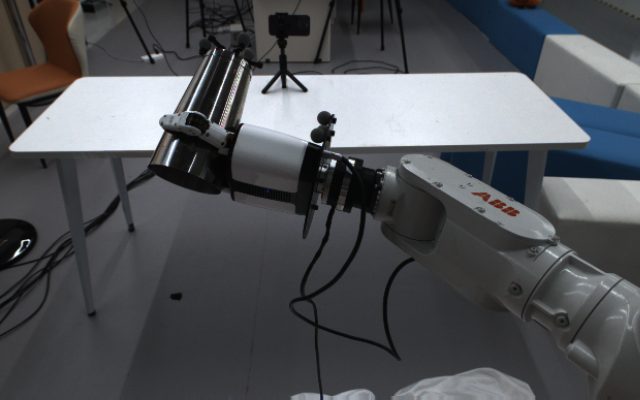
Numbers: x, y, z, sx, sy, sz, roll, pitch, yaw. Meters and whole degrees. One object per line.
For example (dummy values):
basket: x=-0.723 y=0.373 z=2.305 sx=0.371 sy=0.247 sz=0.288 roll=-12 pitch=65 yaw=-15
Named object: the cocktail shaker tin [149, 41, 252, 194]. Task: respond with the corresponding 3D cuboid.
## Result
cocktail shaker tin: x=-0.144 y=-0.103 z=0.616 sx=0.093 sy=0.093 sz=0.170 roll=12 pitch=74 yaw=14
